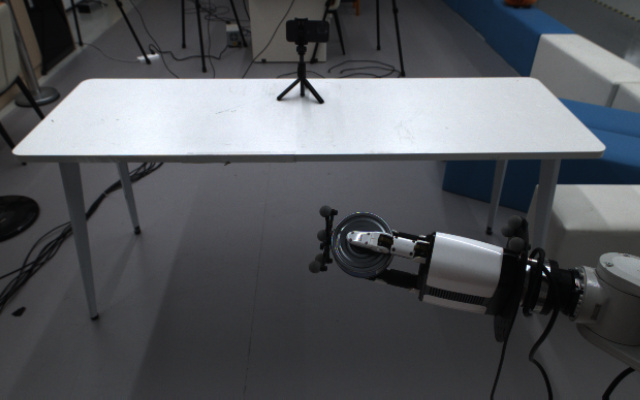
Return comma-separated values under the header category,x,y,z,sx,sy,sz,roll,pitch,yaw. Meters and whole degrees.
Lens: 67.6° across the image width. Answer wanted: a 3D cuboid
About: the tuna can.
category,x,y,z,sx,sy,sz,roll,pitch,yaw
tuna can,0.061,0.063,0.649,0.085,0.034,0.085,-2,69,6
